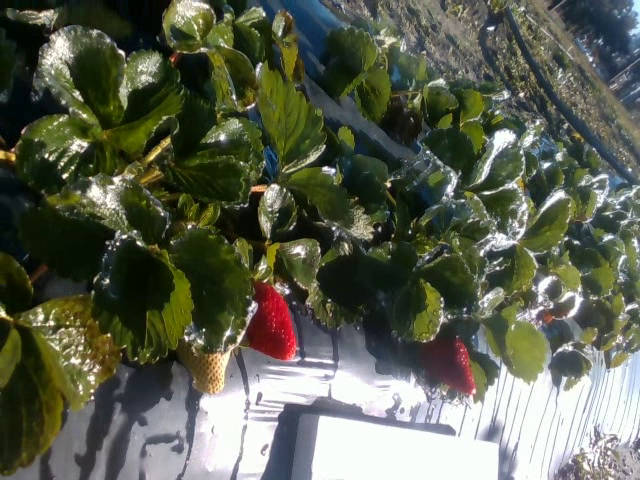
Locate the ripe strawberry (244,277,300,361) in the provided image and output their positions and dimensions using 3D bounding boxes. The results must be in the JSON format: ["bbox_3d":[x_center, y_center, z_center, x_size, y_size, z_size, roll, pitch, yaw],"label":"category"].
[{"bbox_3d":[-0.034,0.058,0.378,0.042,0.046,0.061,5,40,-47],"label":"ripe strawberry"}]

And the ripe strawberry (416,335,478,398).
[{"bbox_3d":[0.123,0.115,0.535,0.048,0.061,0.044,16,-48,-46],"label":"ripe strawberry"}]
